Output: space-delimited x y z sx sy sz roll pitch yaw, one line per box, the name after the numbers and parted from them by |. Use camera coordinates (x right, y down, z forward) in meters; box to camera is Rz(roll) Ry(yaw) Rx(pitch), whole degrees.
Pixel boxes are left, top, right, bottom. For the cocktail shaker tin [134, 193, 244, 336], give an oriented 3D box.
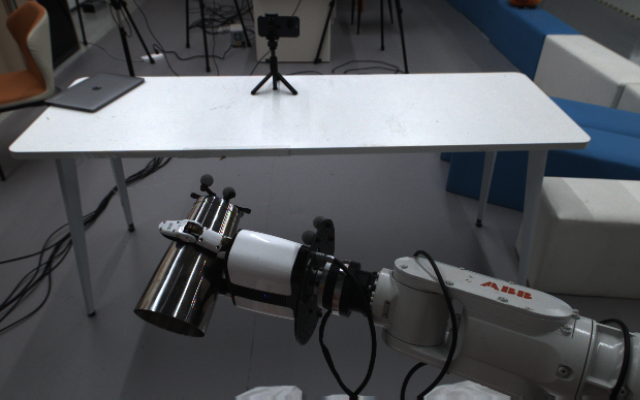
-0.161 0.083 0.633 0.093 0.093 0.170 10 59 11 | cocktail shaker tin
